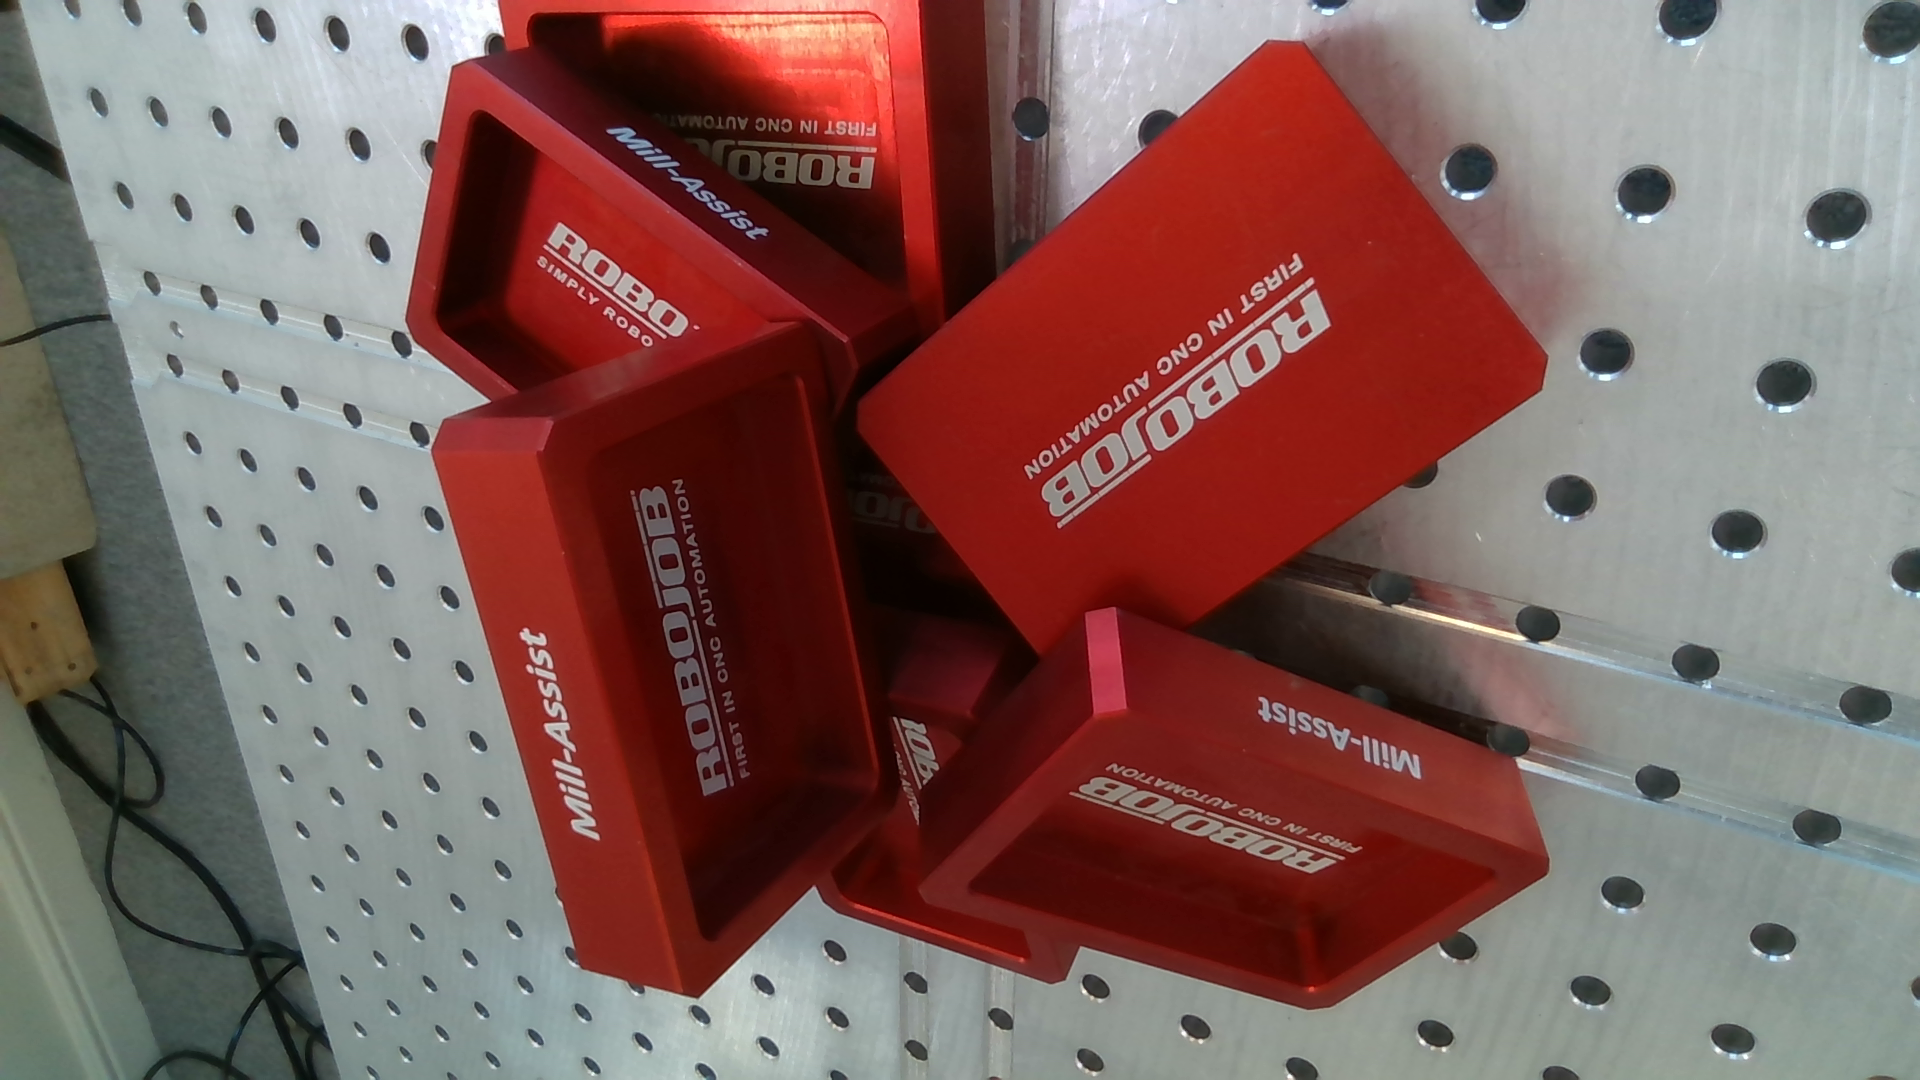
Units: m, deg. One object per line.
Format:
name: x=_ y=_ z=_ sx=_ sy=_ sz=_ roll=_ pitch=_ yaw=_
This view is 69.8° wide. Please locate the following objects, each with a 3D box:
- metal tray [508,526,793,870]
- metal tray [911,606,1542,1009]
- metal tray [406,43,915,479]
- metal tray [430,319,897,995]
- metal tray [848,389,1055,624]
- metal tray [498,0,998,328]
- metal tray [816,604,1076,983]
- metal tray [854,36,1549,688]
metal tray: x=-0.101 y=0.043 z=0.431 sx=0.090 sy=0.030 sz=0.130 roll=64 pitch=161 yaw=-12
metal tray: x=0.064 y=0.073 z=0.345 sx=0.130 sy=0.030 sz=0.090 roll=21 pitch=132 yaw=-20
metal tray: x=-0.085 y=-0.058 z=0.369 sx=0.130 sy=0.030 sz=0.090 roll=37 pitch=128 yaw=9
metal tray: x=-0.060 y=0.023 z=0.315 sx=0.030 sy=0.090 sz=0.130 roll=3 pitch=112 yaw=30
metal tray: x=-0.009 y=-0.008 z=0.389 sx=0.130 sy=0.030 sz=0.090 roll=9 pitch=121 yaw=25
metal tray: x=-0.056 y=-0.104 z=0.366 sx=0.130 sy=0.030 sz=0.090 roll=10 pitch=120 yaw=26
metal tray: x=-0.014 y=0.075 z=0.414 sx=0.090 sy=0.030 sz=0.130 roll=10 pitch=137 yaw=27
metal tray: x=0.051 y=-0.036 z=0.315 sx=0.130 sy=0.030 sz=0.090 roll=-38 pitch=92 yaw=24
